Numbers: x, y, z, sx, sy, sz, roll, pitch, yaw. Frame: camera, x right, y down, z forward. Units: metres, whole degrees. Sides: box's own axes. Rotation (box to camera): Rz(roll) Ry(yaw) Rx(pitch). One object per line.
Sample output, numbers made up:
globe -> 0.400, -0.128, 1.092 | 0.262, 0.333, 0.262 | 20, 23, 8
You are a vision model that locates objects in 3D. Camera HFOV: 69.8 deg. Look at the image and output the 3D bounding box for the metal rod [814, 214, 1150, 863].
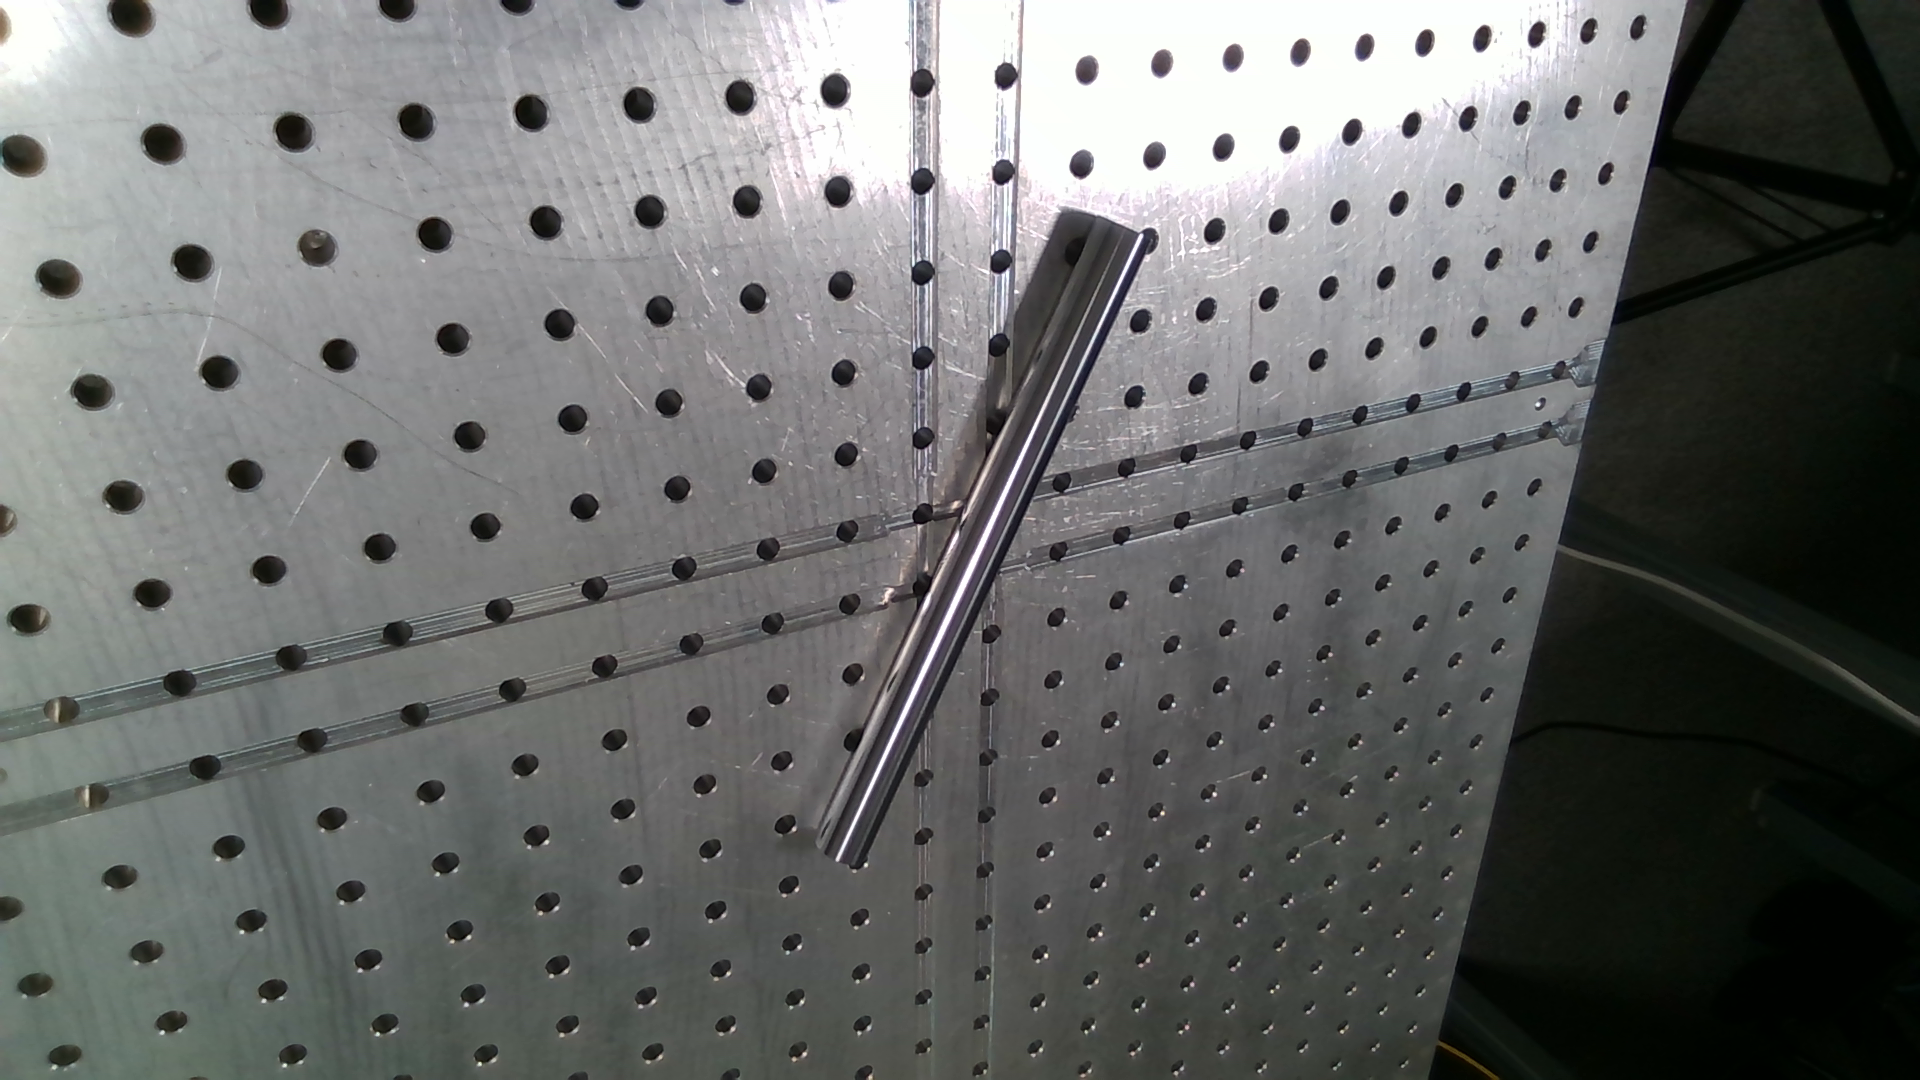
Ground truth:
metal rod -> 0.006, 0.007, 0.591 | 0.025, 0.025, 0.300 | 14, 107, -36
